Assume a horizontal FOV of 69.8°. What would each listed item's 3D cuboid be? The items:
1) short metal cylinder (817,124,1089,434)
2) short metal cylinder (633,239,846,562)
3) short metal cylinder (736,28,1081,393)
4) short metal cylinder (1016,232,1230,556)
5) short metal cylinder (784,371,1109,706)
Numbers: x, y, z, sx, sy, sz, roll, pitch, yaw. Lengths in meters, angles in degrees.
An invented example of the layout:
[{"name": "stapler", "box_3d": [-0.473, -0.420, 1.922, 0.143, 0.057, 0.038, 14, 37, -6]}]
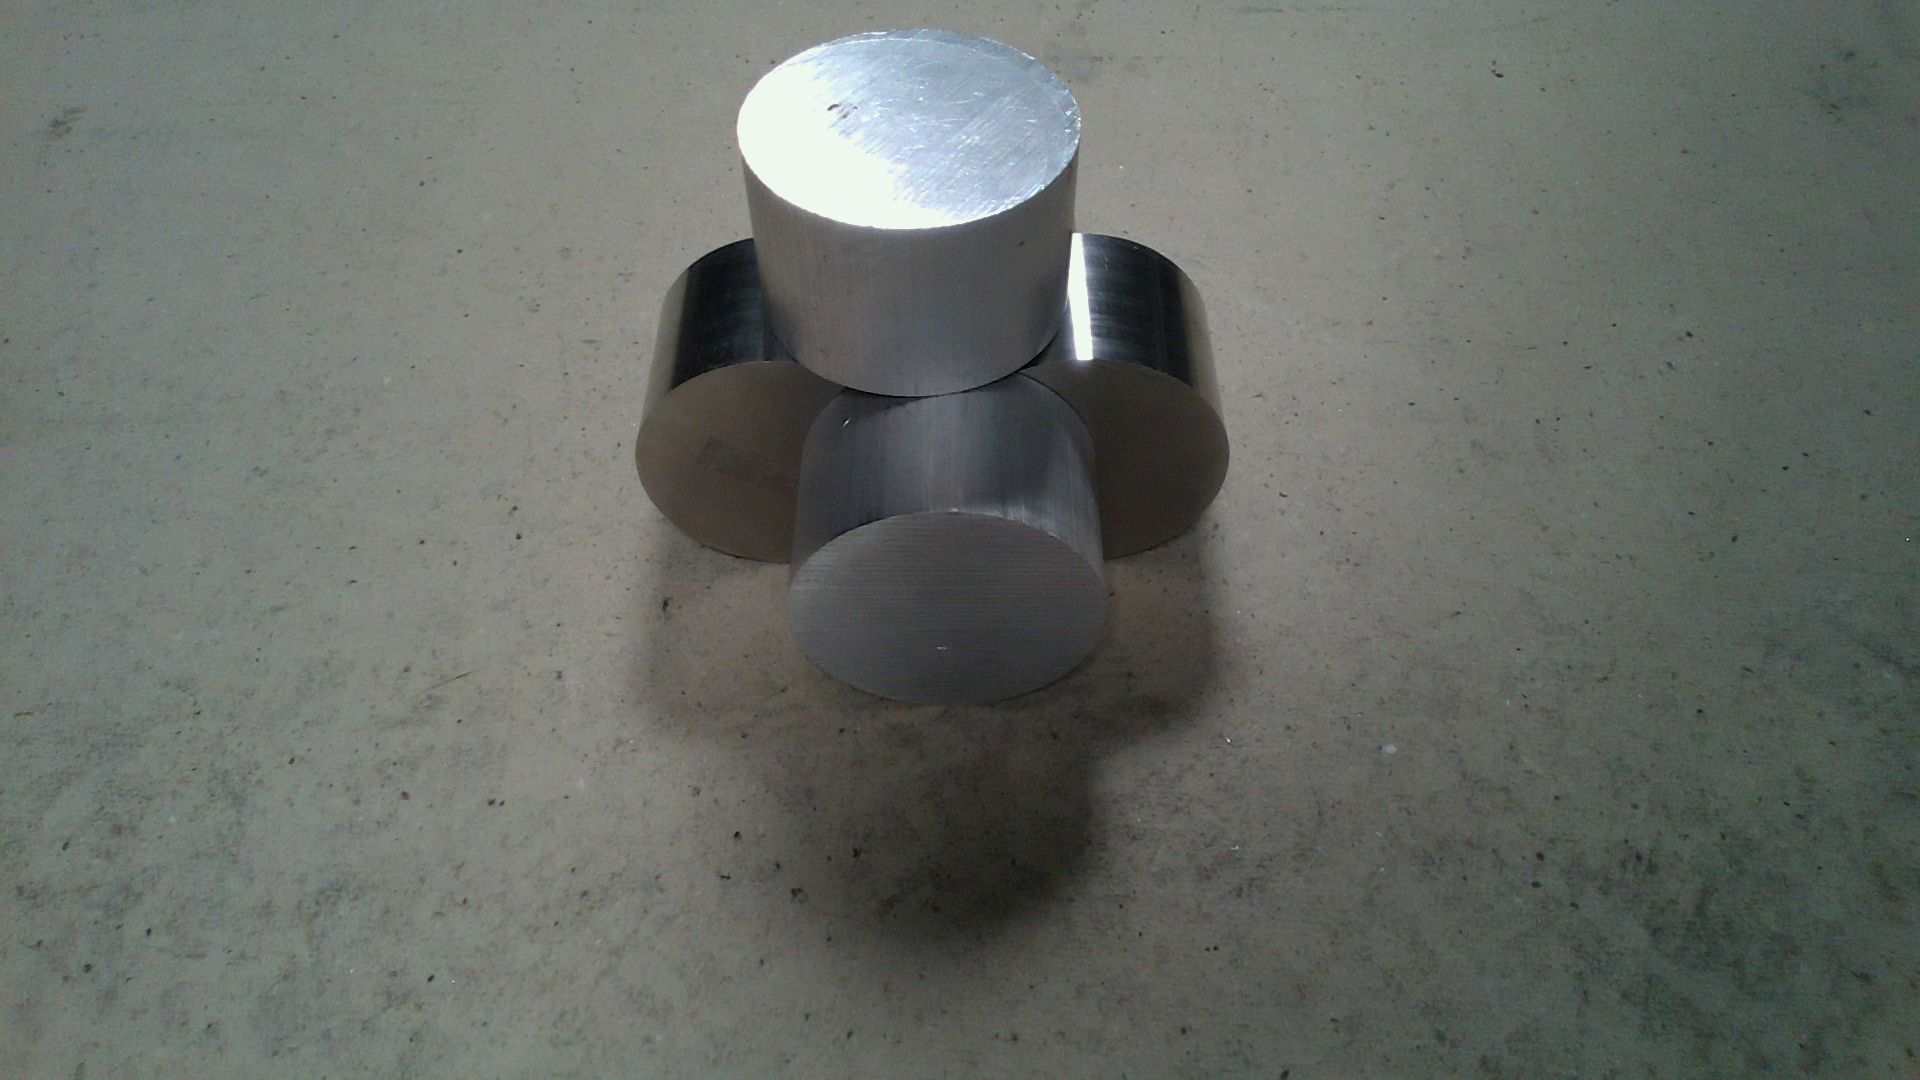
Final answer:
[{"name": "short metal cylinder", "box_3d": [-0.003, -0.078, 0.422, 0.080, 0.080, 0.050, -1, 50, -1]}, {"name": "short metal cylinder", "box_3d": [-0.048, -0.038, 0.388, 0.080, 0.080, 0.050, -1, 50, -1]}, {"name": "short metal cylinder", "box_3d": [-0.012, -0.082, 0.340, 0.080, 0.050, 0.080, 0, 50, 0]}, {"name": "short metal cylinder", "box_3d": [0.033, -0.039, 0.389, 0.080, 0.080, 0.050, 0, 50, 0]}, {"name": "short metal cylinder", "box_3d": [-0.003, 0.000, 0.356, 0.080, 0.080, 0.050, 0, 50, 0]}]
